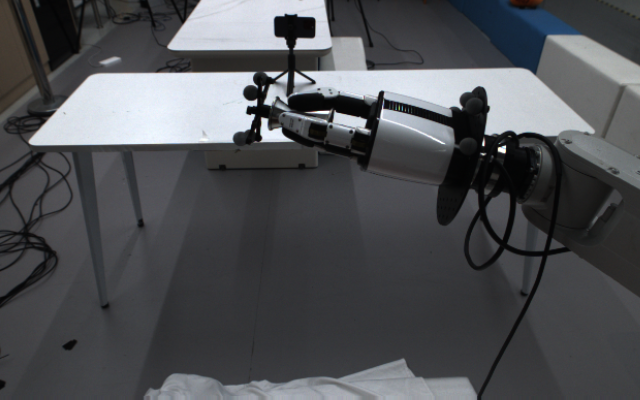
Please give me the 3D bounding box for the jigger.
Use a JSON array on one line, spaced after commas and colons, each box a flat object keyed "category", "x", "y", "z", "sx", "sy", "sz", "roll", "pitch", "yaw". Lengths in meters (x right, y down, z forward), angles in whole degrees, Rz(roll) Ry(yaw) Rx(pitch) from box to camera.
[{"category": "jigger", "x": -0.018, "y": -0.096, "z": 0.560, "sx": 0.071, "sy": 0.043, "sz": 0.043, "roll": 14, "pitch": 36, "yaw": 4}]
